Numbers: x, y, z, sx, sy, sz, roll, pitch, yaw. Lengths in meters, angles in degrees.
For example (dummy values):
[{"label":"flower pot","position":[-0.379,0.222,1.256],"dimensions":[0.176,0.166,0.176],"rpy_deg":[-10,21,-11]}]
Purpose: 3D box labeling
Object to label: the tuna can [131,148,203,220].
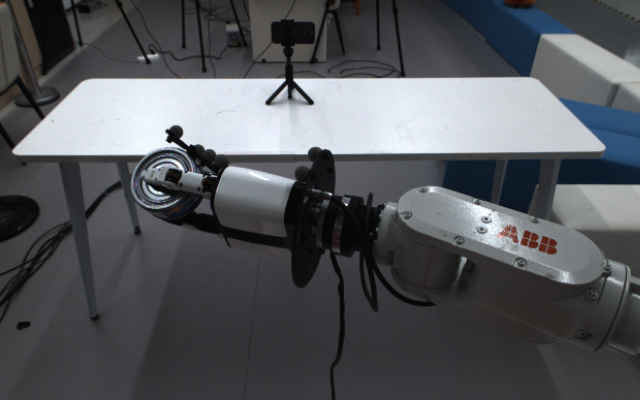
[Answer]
[{"label":"tuna can","position":[-0.184,-0.020,0.593],"dimensions":[0.085,0.034,0.085],"rpy_deg":[-4,69,9]}]
